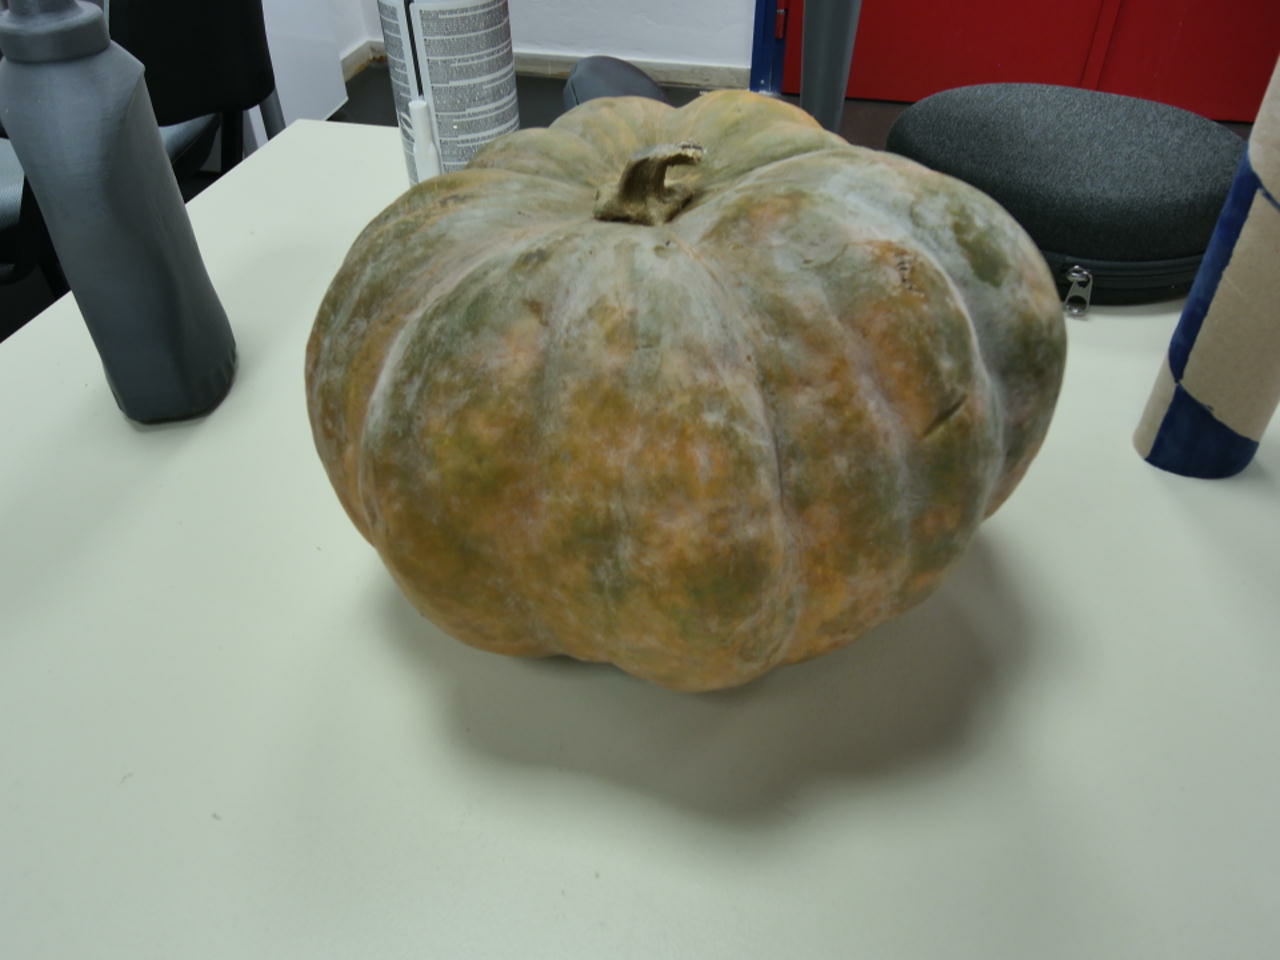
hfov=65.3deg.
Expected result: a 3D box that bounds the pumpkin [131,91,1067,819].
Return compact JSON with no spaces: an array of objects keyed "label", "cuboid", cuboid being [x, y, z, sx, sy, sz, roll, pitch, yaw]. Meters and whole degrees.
[{"label":"pumpkin","cuboid":[0.007,-0.040,0.357,0.252,0.169,0.251,0,38,0]}]
